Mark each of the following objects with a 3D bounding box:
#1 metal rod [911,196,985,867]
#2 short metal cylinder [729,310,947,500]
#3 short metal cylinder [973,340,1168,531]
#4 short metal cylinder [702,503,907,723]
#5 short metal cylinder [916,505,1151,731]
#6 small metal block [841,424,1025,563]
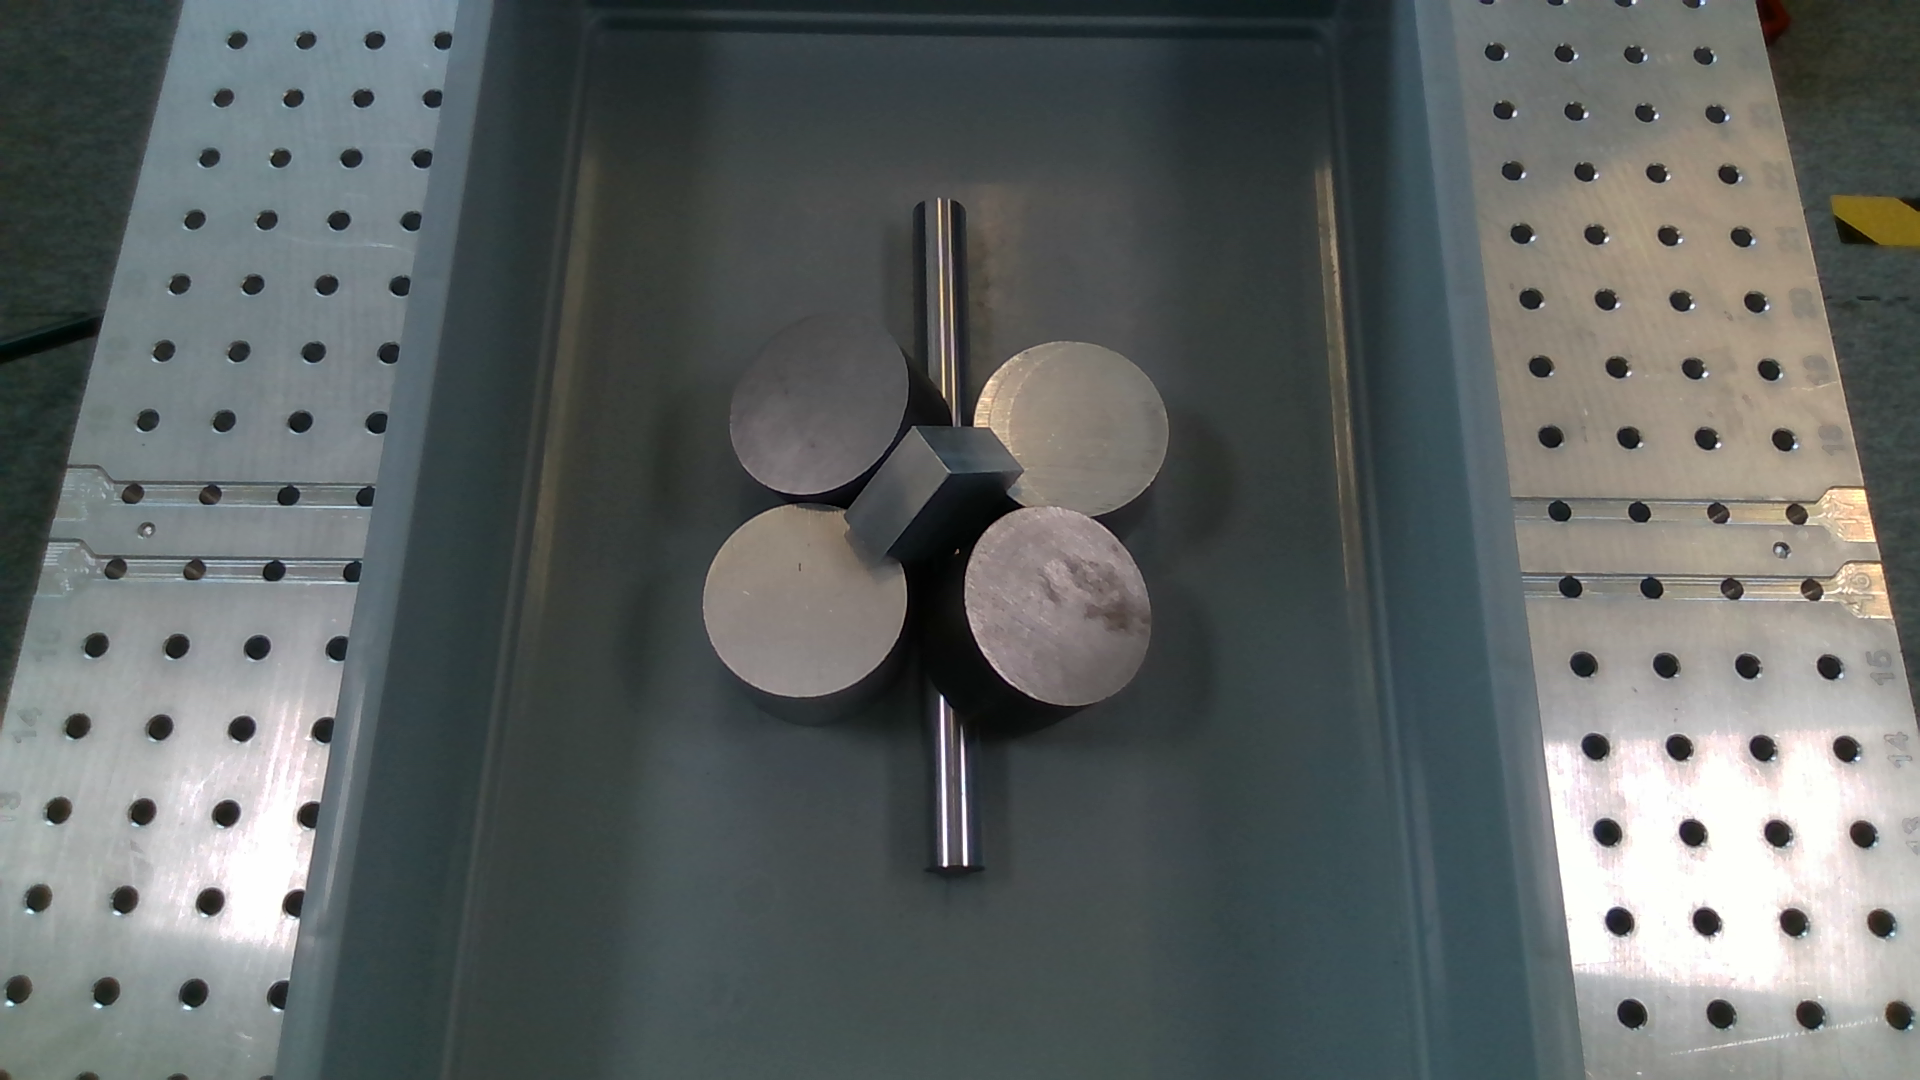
[{"bbox_3d":[-0.006,-0.012,0.591,0.025,0.025,0.299,-1,70,-1],"label":"metal rod"},{"bbox_3d":[-0.049,-0.049,0.578,0.080,0.050,0.080,-7,70,19],"label":"short metal cylinder"},{"bbox_3d":[0.045,-0.038,0.587,0.080,0.050,0.080,0,70,0],"label":"short metal cylinder"},{"bbox_3d":[-0.061,0.031,0.563,0.080,0.050,0.080,0,70,0],"label":"short metal cylinder"},{"bbox_3d":[0.028,0.032,0.548,0.080,0.050,0.080,9,68,-22],"label":"short metal cylinder"},{"bbox_3d":[-0.010,-0.018,0.542,0.050,0.050,0.025,-50,65,28],"label":"small metal block"}]
